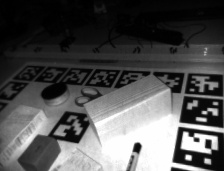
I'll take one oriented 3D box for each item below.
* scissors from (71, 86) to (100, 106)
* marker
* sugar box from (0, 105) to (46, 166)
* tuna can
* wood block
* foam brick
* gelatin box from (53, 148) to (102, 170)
[{"bbox_3d":[-0.039,0.041,0.679,0.200,0.016,0.088,8,44,29],"label":"scissors"},{"bbox_3d":[0.034,0.178,0.485,0.019,0.020,0.121,5,45,24],"label":"marker"},{"bbox_3d":[-0.285,0.136,0.624,0.092,0.046,0.177,8,44,25],"label":"sugar box"},{"bbox_3d":[-0.204,0.028,0.730,0.085,0.034,0.085,-9,40,8],"label":"tuna can"},{"bbox_3d":[0.039,0.064,0.571,0.207,0.092,0.088,-26,39,-14],"label":"wood block"},{"bbox_3d":[-0.175,0.172,0.531,0.052,0.052,0.078,5,44,25],"label":"foam brick"},{"bbox_3d":[-0.080,0.195,0.496,0.088,0.030,0.074,19,51,36],"label":"gelatin box"}]
